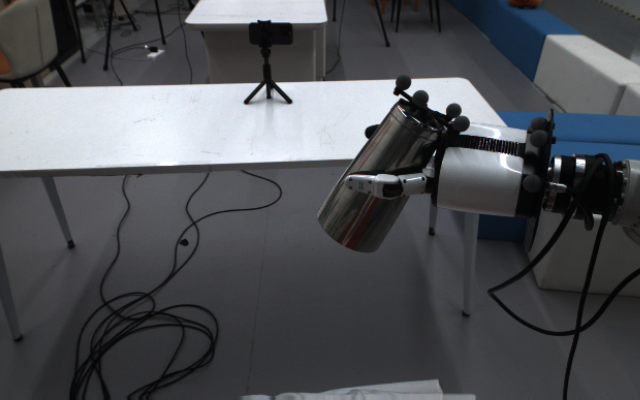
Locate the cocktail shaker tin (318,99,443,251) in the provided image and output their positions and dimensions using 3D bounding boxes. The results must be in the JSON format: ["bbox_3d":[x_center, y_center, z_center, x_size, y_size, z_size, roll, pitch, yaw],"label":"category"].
[{"bbox_3d":[0.077,-0.033,0.586,0.093,0.170,0.093,25,29,-15],"label":"cocktail shaker tin"}]
